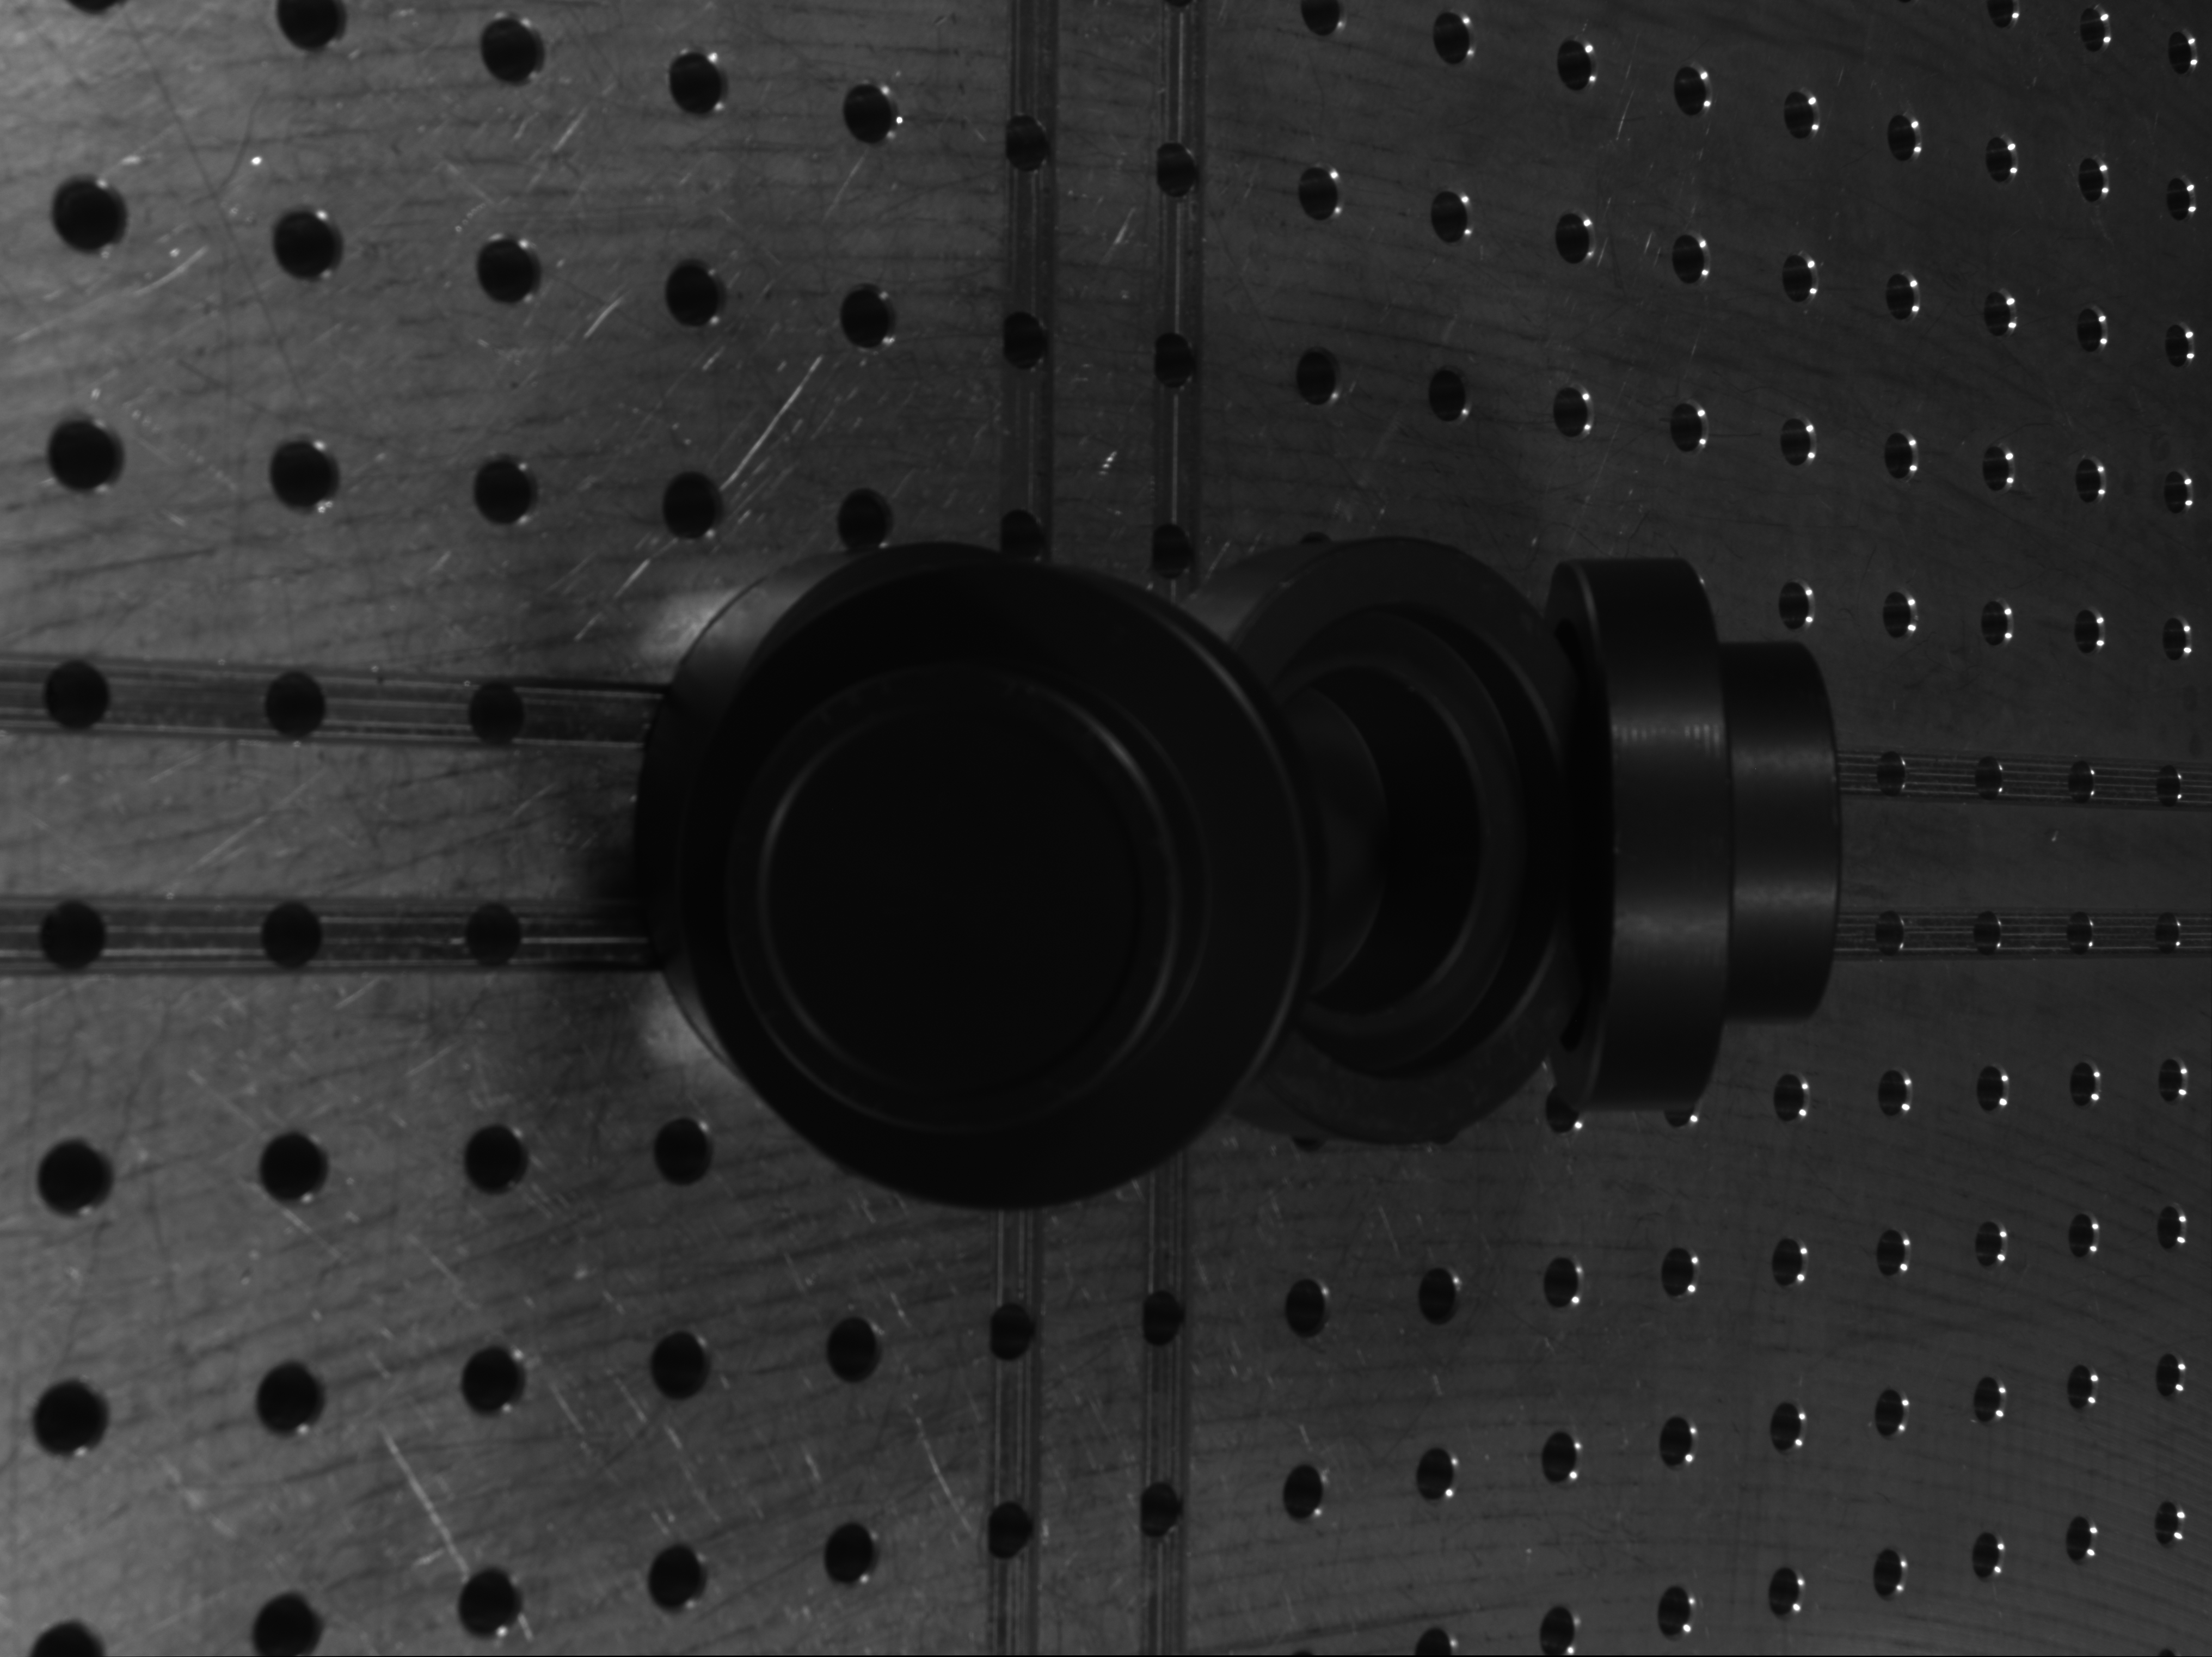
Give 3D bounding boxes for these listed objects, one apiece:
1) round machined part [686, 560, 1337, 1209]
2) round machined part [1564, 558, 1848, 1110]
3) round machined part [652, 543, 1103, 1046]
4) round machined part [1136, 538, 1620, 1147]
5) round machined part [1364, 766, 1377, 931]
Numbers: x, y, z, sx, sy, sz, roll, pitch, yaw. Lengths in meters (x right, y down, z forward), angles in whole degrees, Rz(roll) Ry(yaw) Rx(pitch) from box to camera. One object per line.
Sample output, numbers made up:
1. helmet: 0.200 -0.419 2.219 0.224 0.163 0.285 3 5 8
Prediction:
1. round machined part: -0.017 0.009 0.549 0.042 0.098 0.098 -19 105 -77
2. round machined part: 0.105 0.001 0.650 0.042 0.098 0.098 0 90 1
3. round machined part: -0.023 0.001 0.609 0.098 0.042 0.098 0 90 -40
4. round machined part: 0.038 0.002 0.605 0.098 0.042 0.098 0 90 -40
5. round machined part: 0.052 0.001 0.672 0.098 0.042 0.098 0 90 -40
